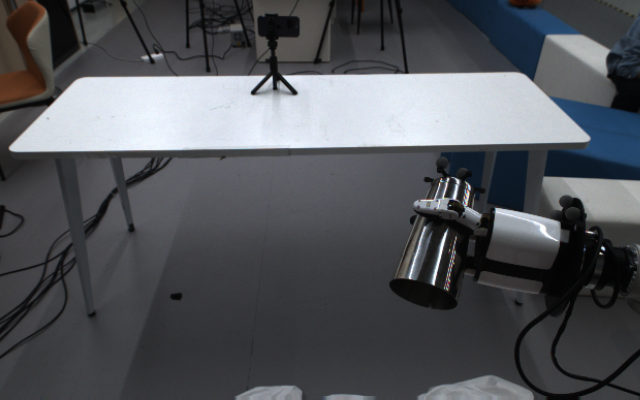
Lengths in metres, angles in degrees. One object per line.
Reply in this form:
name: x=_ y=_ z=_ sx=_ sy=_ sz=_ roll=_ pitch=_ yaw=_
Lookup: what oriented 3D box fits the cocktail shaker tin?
cocktail shaker tin: x=0.164 y=0.053 z=0.668 sx=0.093 sy=0.093 sz=0.170 roll=15 pitch=61 yaw=18
